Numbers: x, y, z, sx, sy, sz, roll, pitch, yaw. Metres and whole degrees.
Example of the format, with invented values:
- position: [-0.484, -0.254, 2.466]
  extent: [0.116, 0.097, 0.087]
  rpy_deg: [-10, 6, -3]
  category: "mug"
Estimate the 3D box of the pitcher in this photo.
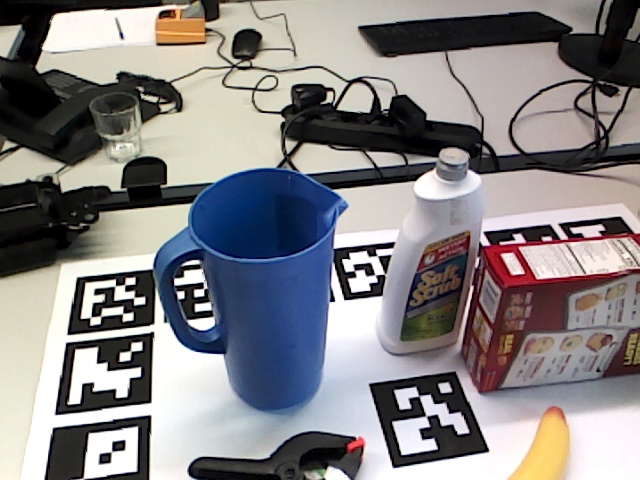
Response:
- position: [-0.061, 0.060, 0.619]
  extent: [0.188, 0.242, 0.134]
  rpy_deg: [-17, 41, -24]
  category: "pitcher"

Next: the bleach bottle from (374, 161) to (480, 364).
- position: [0.117, 0.028, 0.685]
  extent: [0.102, 0.250, 0.068]
  rpy_deg: [-7, 39, -7]
  category: "bleach bottle"

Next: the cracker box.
- position: [0.282, 0.079, 0.664]
  extent: [0.213, 0.164, 0.072]
  rpy_deg: [-7, 37, -5]
  category: "cracker box"

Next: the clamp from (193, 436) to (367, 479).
- position: [-0.026, 0.237, 0.596]
  extent: [0.164, 0.036, 0.122]
  rpy_deg: [-16, 40, -21]
  category: "clamp"

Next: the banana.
- position: [0.195, 0.233, 0.610]
  extent: [0.196, 0.039, 0.075]
  rpy_deg: [-32, 48, -32]
  category: "banana"
